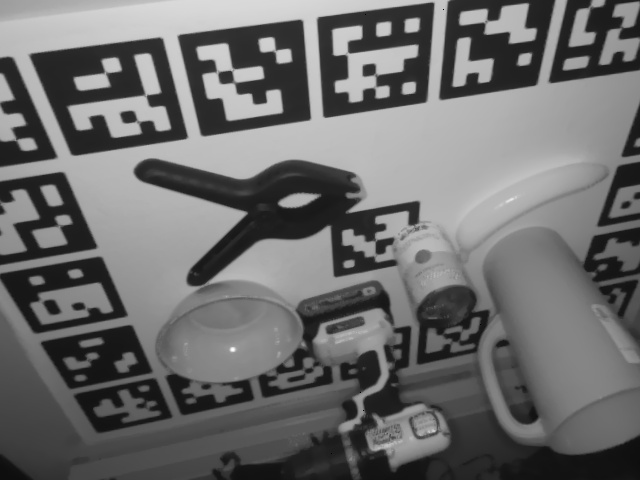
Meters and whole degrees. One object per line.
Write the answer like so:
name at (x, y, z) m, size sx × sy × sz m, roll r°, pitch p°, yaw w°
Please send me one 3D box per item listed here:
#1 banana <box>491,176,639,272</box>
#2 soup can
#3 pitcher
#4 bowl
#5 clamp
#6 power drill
banana at (0.273, -0.027, 0.773) m, size 0.196 × 0.039 × 0.074 m, roll -28°, pitch 140°, yaw 11°
soup can at (0.160, 0.052, 0.765) m, size 0.068 × 0.102 × 0.067 m, roll -10°, pitch 141°, yaw -7°
pitcher at (0.295, 0.125, 0.770) m, size 0.188 × 0.243 × 0.133 m, roll -27°, pitch 135°, yaw 10°
bowl at (-0.065, 0.105, 0.776) m, size 0.163 × 0.055 × 0.160 m, roll -8°, pitch 131°, yaw -9°
clamp at (-0.016, -0.023, 0.681) m, size 0.204 × 0.037 × 0.164 m, roll -12°, pitch 128°, yaw -6°
power drill at (0.061, 0.184, 0.768) m, size 0.185 × 0.188 × 0.057 m, roll -13°, pitch 133°, yaw -3°
